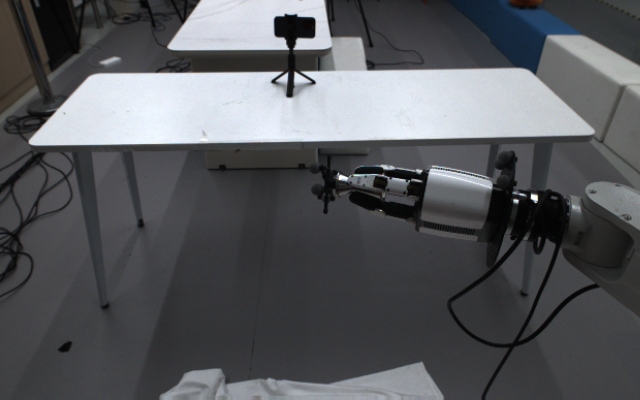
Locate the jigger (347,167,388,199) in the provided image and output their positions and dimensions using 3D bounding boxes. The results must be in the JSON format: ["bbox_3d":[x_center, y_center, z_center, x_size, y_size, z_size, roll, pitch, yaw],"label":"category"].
[{"bbox_3d":[0.068,-0.026,0.704,0.071,0.043,0.043,3,34,16],"label":"jigger"}]
